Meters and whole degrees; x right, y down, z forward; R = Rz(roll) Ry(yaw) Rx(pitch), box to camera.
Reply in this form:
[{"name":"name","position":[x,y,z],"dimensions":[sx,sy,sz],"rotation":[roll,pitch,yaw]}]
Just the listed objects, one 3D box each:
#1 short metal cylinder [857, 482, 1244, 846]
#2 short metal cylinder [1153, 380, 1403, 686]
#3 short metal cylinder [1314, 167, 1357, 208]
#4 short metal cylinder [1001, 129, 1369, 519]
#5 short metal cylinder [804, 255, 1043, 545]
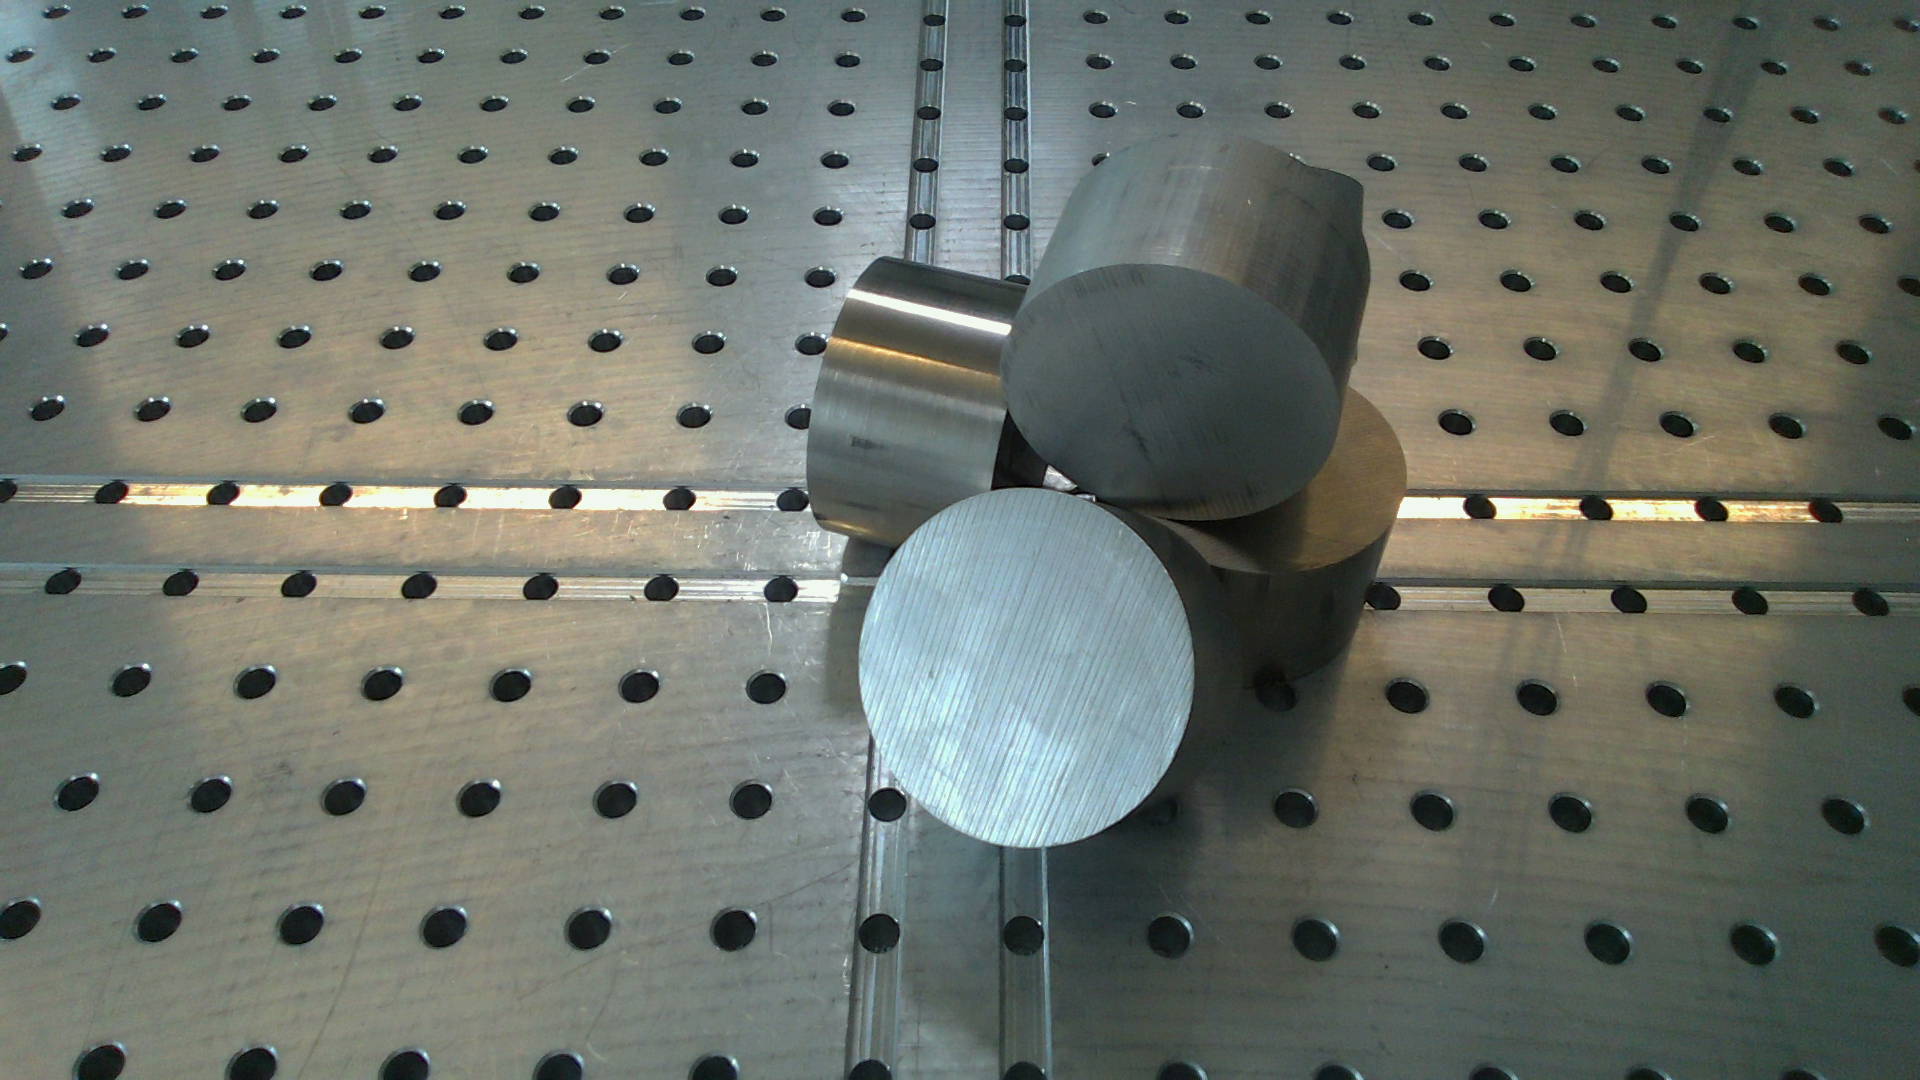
[{"name":"short metal cylinder","position":[0.023,0.028,0.327],"dimensions":[0.080,0.050,0.080],"rotation":[-1,87,23]},{"name":"short metal cylinder","position":[0.077,-0.007,0.383],"dimensions":[0.080,0.050,0.080],"rotation":[0,49,1]},{"name":"short metal cylinder","position":[0.079,-0.079,0.416],"dimensions":[0.080,0.080,0.050],"rotation":[2,90,1]},{"name":"short metal cylinder","position":[0.055,-0.051,0.335],"dimensions":[0.080,0.080,0.050],"rotation":[13,51,11]},{"name":"short metal cylinder","position":[-0.005,-0.036,0.389],"dimensions":[0.050,0.080,0.080],"rotation":[14,51,12]}]
